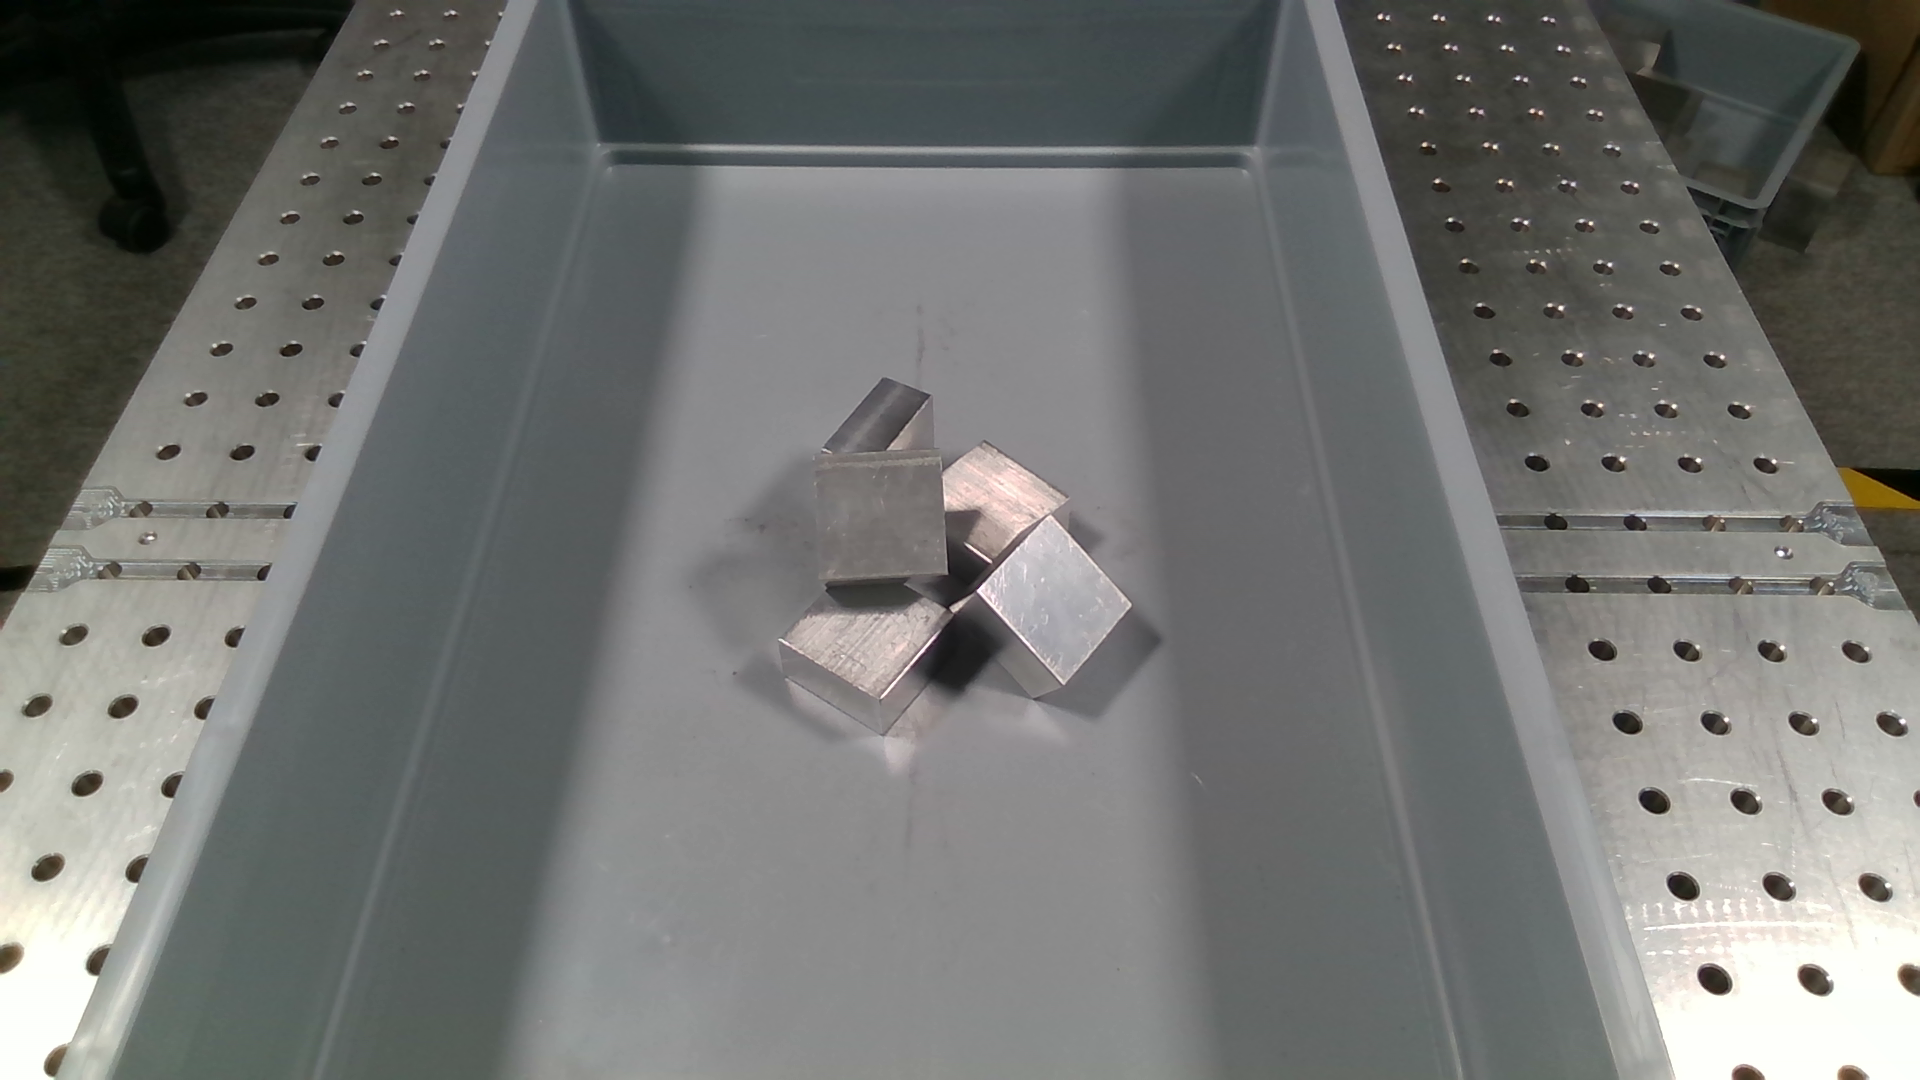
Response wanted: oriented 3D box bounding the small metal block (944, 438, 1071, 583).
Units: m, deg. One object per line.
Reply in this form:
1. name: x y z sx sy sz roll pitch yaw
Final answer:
1. small metal block: 0.012 -0.010 0.593 0.050 0.025 0.050 36 59 26

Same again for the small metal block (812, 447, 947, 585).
1. small metal block: -0.032 -0.008 0.545 0.050 0.025 0.050 -3 82 -3

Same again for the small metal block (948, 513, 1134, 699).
1. small metal block: 0.033 0.026 0.549 0.050 0.025 0.050 47 59 -6

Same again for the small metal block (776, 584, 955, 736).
1. small metal block: -0.037 0.042 0.550 0.050 0.025 0.050 28 56 22

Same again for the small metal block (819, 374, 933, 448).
1. small metal block: -0.035 -0.034 0.597 0.025 0.050 0.050 23 54 18
